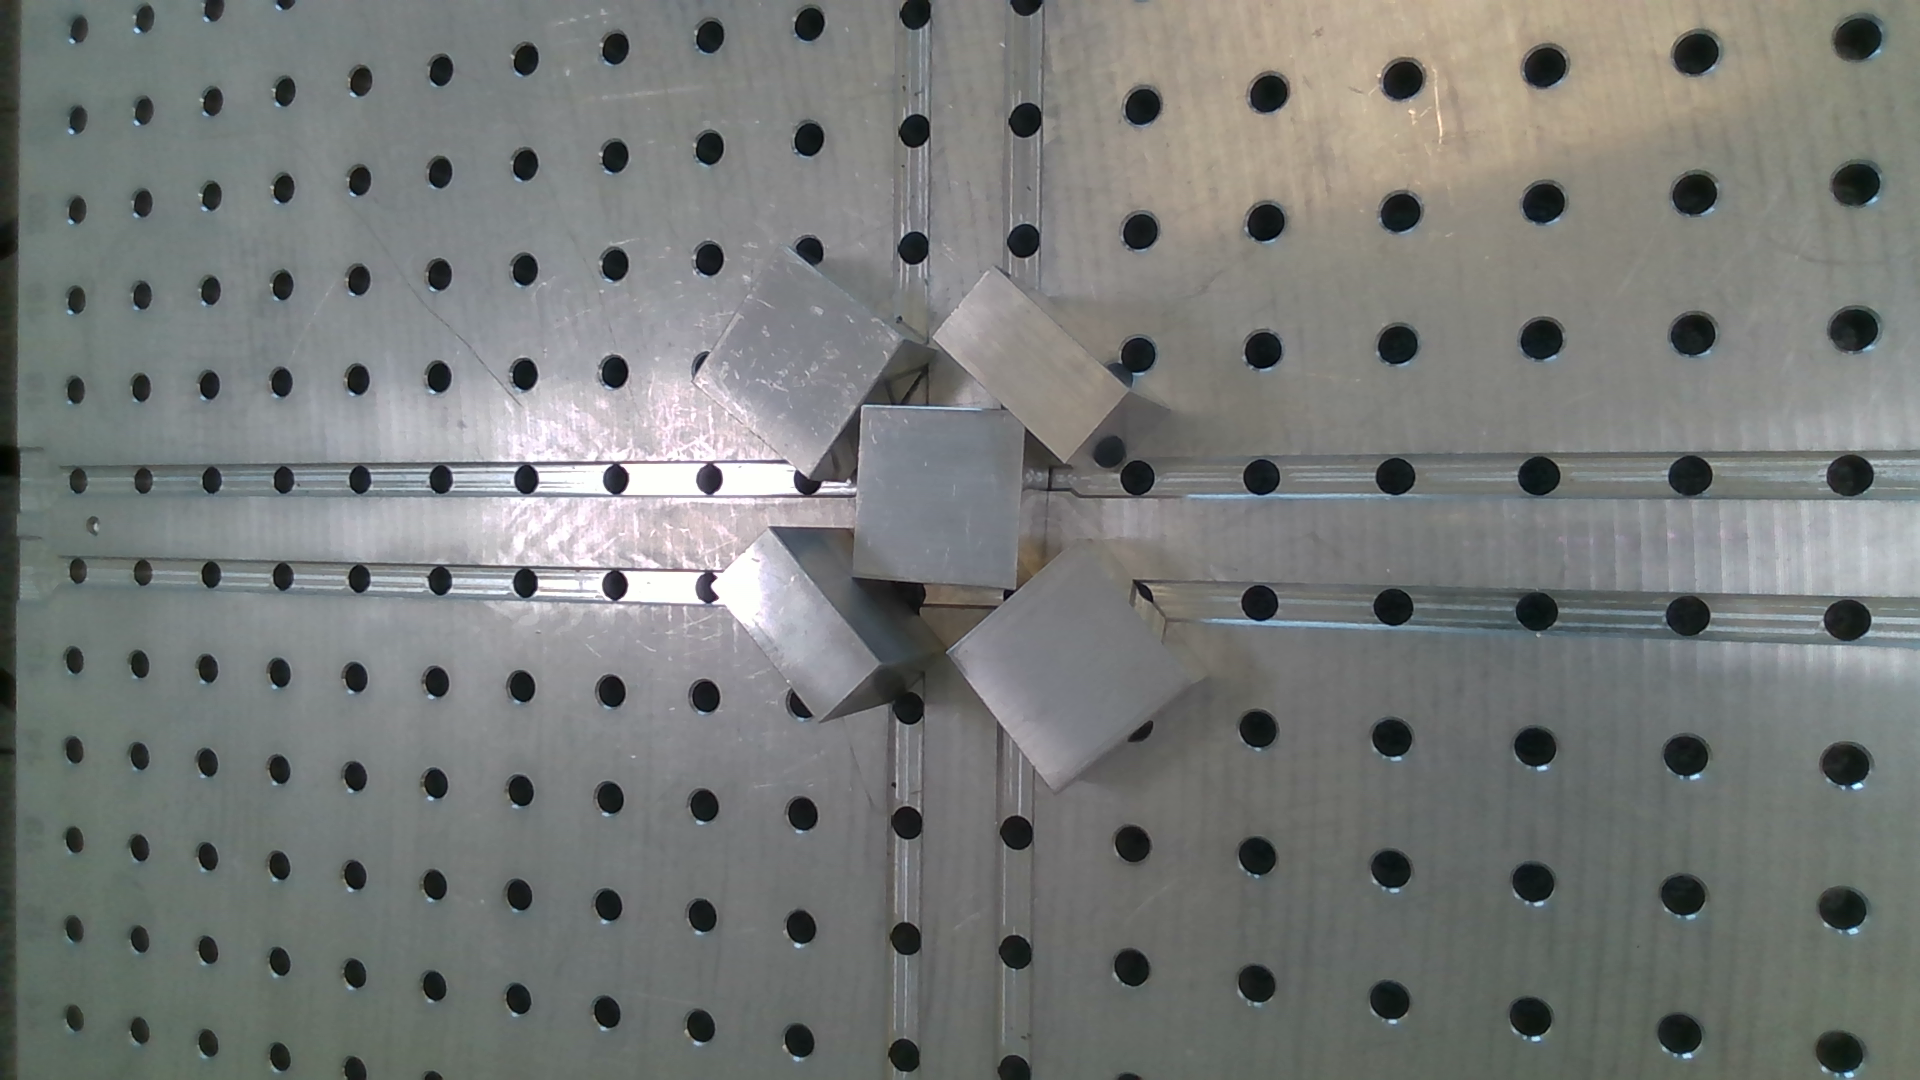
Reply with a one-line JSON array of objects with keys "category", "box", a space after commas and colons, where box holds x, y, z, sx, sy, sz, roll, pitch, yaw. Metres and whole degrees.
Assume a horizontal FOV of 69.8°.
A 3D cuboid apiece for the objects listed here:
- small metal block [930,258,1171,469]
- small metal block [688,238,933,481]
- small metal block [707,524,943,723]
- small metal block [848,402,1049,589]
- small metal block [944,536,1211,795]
[{"category": "small metal block", "box": [0.026, -0.046, 0.373, 0.050, 0.050, 0.025, 46, 105, 15]}, {"category": "small metal block", "box": [-0.044, -0.053, 0.412, 0.050, 0.025, 0.050, 39, 103, 15]}, {"category": "small metal block", "box": [-0.037, 0.023, 0.397, 0.025, 0.050, 0.050, -44, 76, 14]}, {"category": "small metal block", "box": [-0.003, -0.013, 0.396, 0.050, 0.025, 0.050, 4, 90, 19]}, {"category": "small metal block", "box": [0.033, 0.034, 0.384, 0.050, 0.025, 0.050, -42, 77, 15]}]
